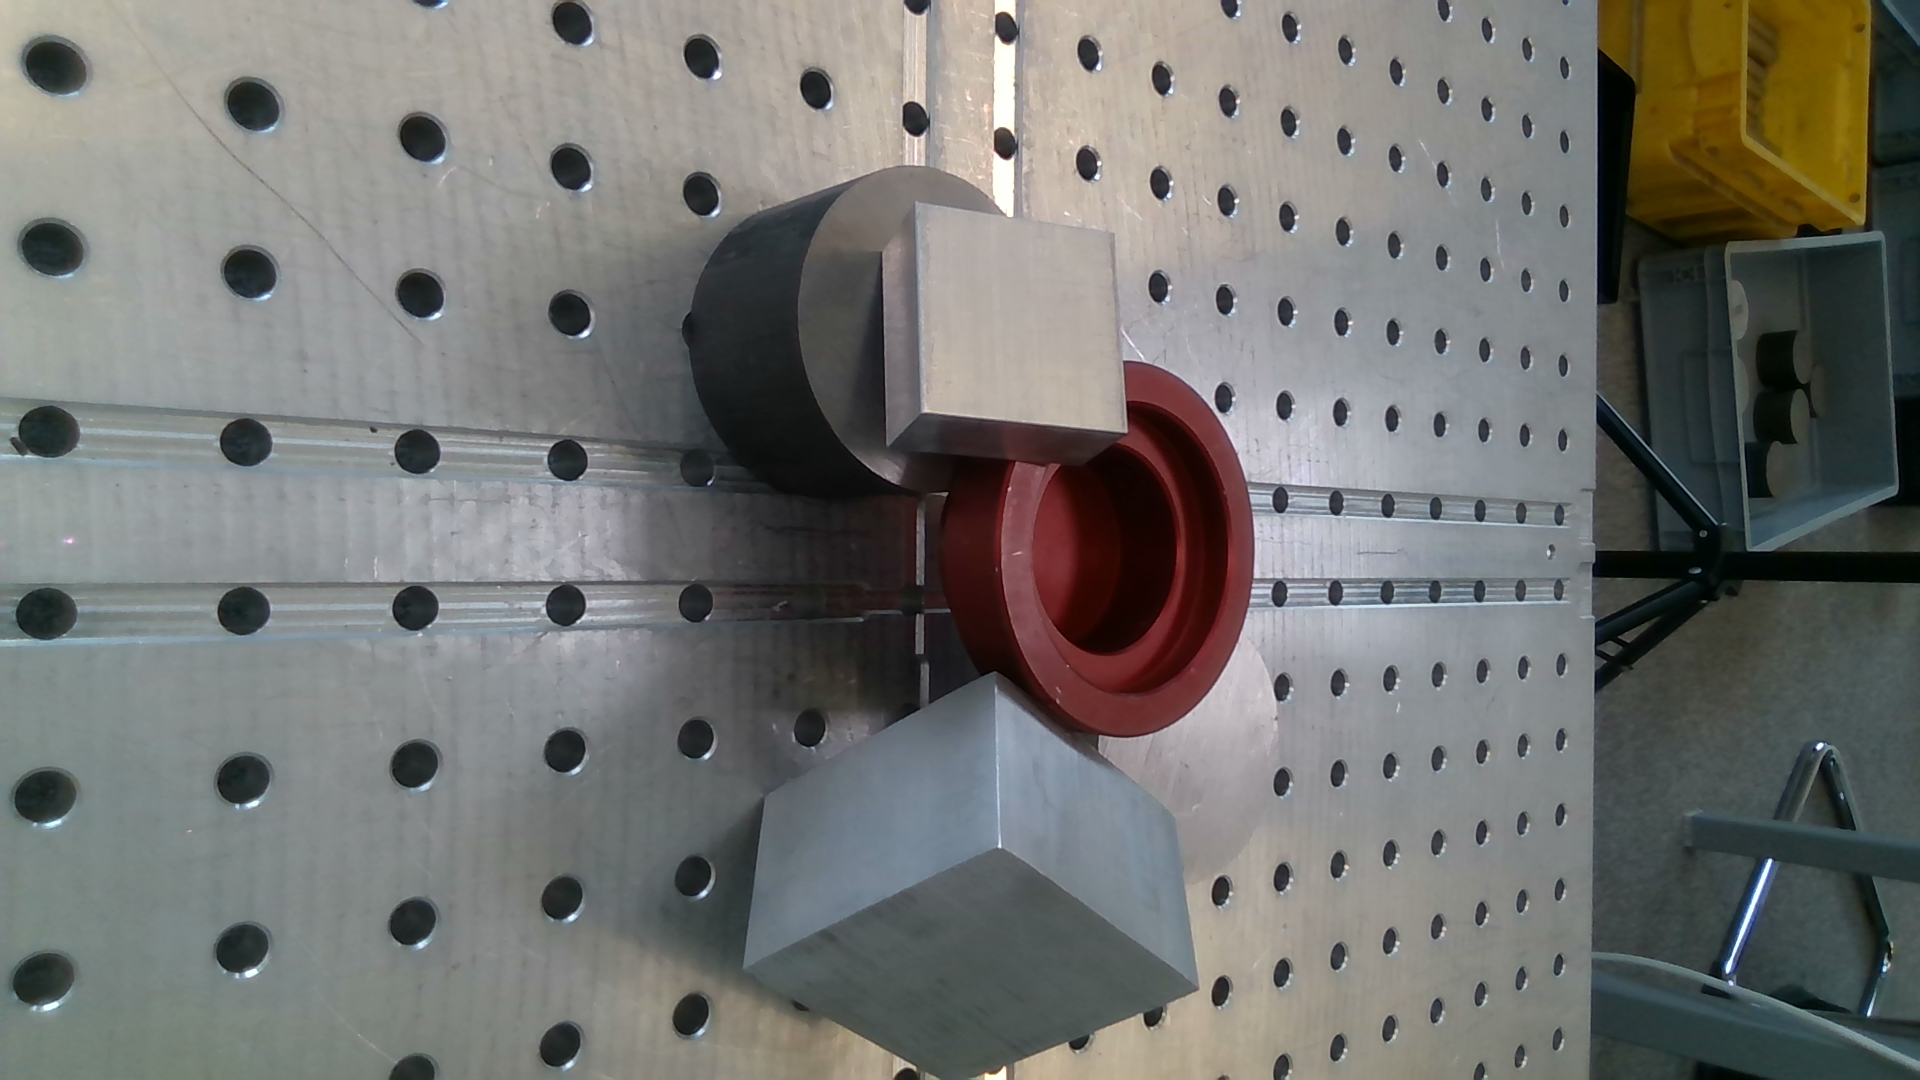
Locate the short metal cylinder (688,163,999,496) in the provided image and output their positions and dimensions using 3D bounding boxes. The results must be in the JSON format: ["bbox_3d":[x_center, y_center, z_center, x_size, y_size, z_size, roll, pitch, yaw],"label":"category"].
[{"bbox_3d":[-0.023,-0.052,0.358,0.080,0.050,0.080,0,90,-40],"label":"short metal cylinder"}]

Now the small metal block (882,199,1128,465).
[{"bbox_3d":[0.010,-0.047,0.320,0.050,0.025,0.050,4,75,-21],"label":"small metal block"}]

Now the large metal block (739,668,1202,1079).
[{"bbox_3d":[0.003,0.089,0.353,0.080,0.080,0.050,41,31,-32],"label":"large metal block"}]

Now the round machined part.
[{"bbox_3d":[0.033,0.002,0.373,0.098,0.042,0.098,0,90,-40],"label":"round machined part"}]

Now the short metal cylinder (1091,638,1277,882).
[{"bbox_3d":[0.052,0.060,0.422,0.080,0.050,0.080,0,90,-40],"label":"short metal cylinder"}]
